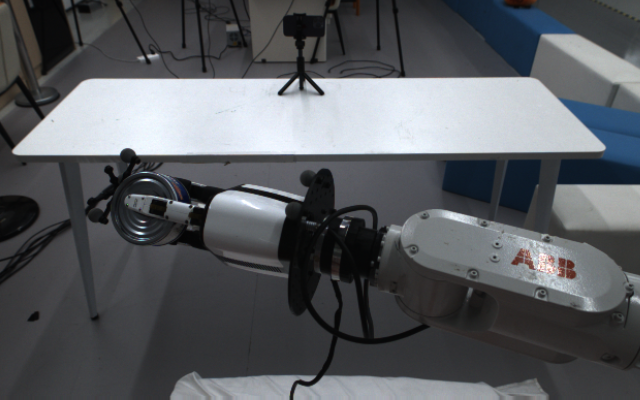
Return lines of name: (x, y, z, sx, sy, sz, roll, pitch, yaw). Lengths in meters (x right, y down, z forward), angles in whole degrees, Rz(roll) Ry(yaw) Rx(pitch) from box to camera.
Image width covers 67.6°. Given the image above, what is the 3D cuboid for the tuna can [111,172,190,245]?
tuna can: (-0.191, 0.014, 0.553, 0.085, 0.085, 0.034, 9, -3, 10)
